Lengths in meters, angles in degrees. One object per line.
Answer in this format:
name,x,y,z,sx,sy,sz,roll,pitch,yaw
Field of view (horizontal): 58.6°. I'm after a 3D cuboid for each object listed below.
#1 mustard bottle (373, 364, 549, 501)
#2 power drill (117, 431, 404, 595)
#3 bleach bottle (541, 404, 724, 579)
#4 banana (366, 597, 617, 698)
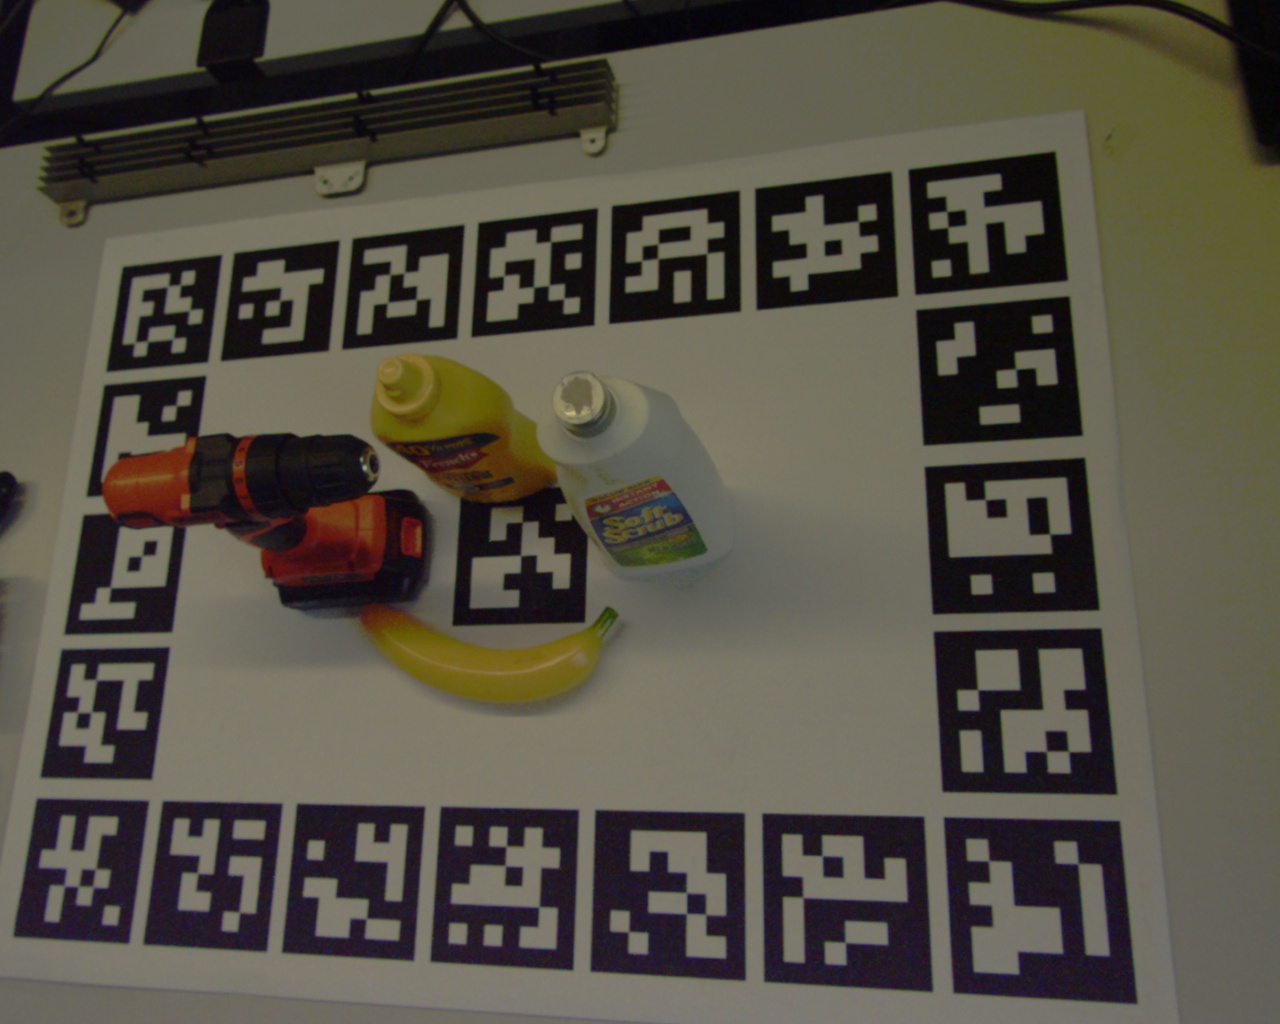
mustard bottle,-0.133,-0.059,0.804,0.097,0.190,0.058,-2,75,13
power drill,-0.237,0.001,0.797,0.185,0.185,0.057,-6,67,11
bleach bottle,-0.012,-0.015,0.737,0.103,0.248,0.068,-11,74,11
banana,-0.112,0.098,0.835,0.199,0.038,0.074,0,79,17
